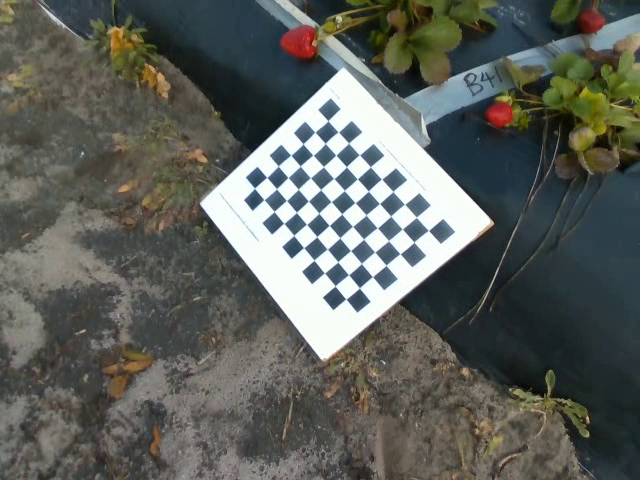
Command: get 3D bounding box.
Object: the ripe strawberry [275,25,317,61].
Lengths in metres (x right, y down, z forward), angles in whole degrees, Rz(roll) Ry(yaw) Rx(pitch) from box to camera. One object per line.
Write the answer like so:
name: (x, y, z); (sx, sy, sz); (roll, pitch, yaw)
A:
ripe strawberry: (-0.028, -0.255, 0.879); (0.053, 0.047, 0.030); (0, -9, -6)

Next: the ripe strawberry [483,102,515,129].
ripe strawberry: (0.211, -0.150, 0.826); (0.048, 0.037, 0.031); (-11, -23, -39)
